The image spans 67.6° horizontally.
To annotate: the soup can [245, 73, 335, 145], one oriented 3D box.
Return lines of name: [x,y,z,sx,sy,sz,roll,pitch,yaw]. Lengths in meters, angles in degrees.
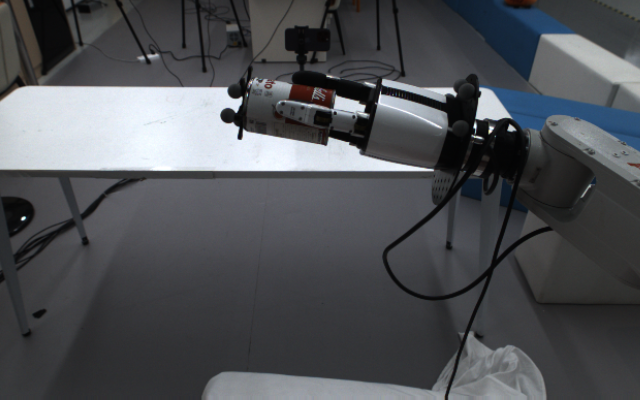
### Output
soup can: [-0.034,-0.107,0.587,0.101,0.067,0.067,10,35,0]
